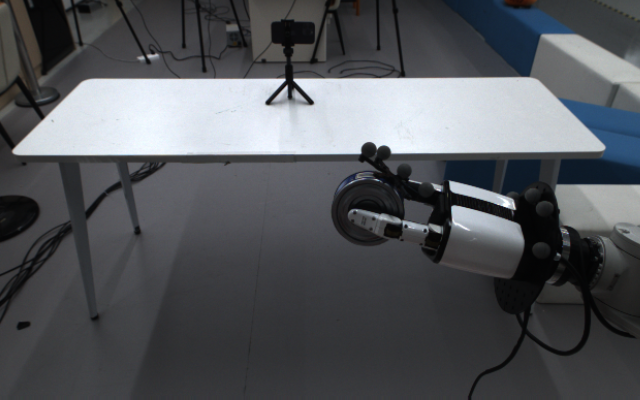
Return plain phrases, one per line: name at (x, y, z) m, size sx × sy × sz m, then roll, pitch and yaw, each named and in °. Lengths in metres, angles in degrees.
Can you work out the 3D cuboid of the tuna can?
tuna can at (0.060, 0.017, 0.568) m, size 0.085 × 0.085 × 0.034 m, roll 7°, pitch 19°, yaw 7°
